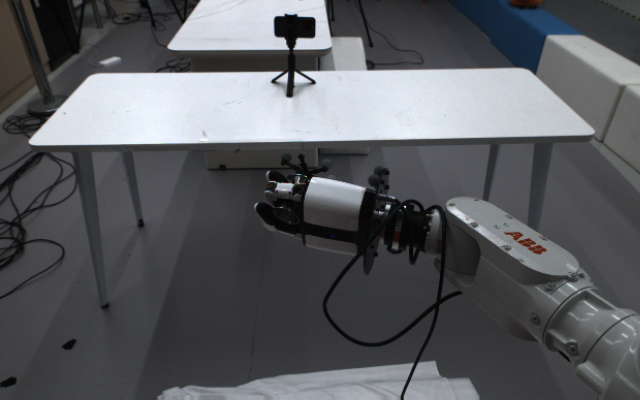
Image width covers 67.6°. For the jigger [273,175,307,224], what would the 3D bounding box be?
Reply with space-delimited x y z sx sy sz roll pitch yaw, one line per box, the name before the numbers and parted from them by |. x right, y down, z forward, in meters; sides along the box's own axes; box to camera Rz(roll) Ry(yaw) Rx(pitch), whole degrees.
jigger | -0.037 -0.003 0.743 0.043 0.043 0.071 13 58 16
